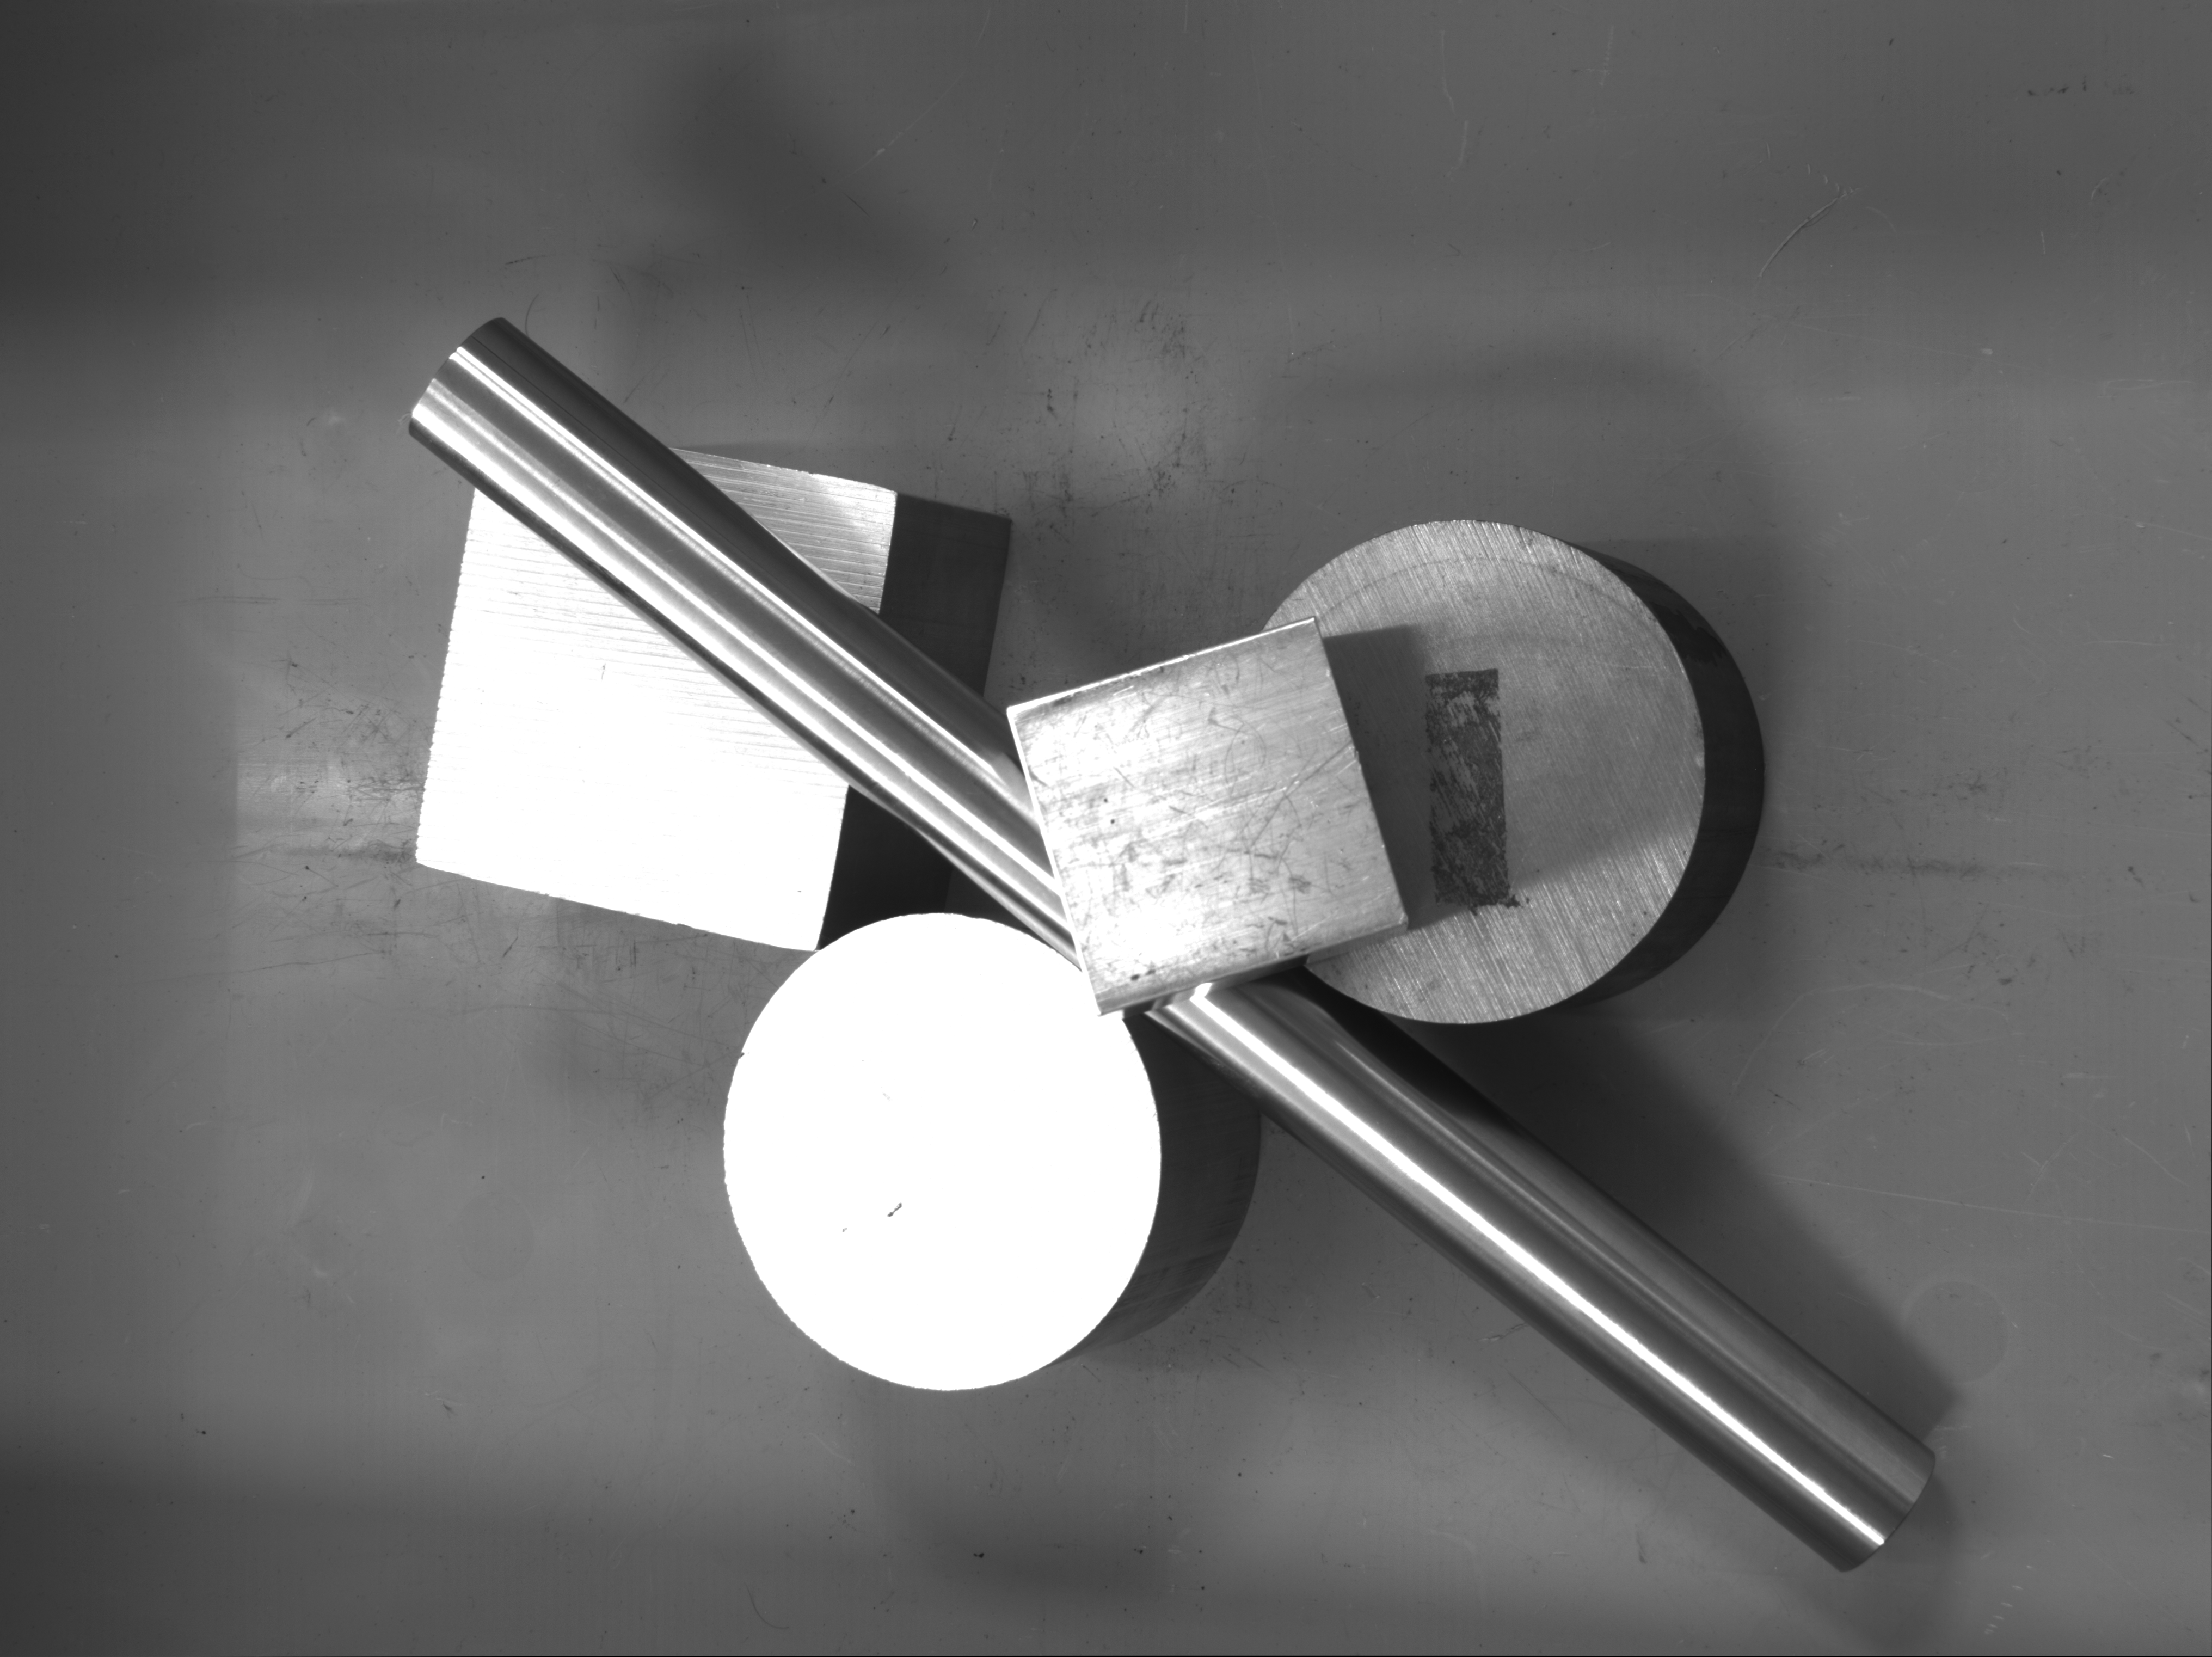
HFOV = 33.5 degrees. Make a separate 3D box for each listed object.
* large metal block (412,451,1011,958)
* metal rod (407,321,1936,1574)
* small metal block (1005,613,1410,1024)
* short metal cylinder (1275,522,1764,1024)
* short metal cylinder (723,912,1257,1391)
[{"bbox_3d":[-0.070,-0.025,0.656,0.080,0.050,0.080,12,94,20],"label":"large metal block"},{"bbox_3d":[0.010,0.019,0.604,0.300,0.025,0.025,38,103,2],"label":"metal rod"},{"bbox_3d":[0.016,-0.001,0.579,0.050,0.025,0.050,-17,84,1],"label":"small metal block"},{"bbox_3d":[0.065,-0.009,0.609,0.080,0.050,0.080,0,90,20],"label":"short metal cylinder"},{"bbox_3d":[-0.019,0.054,0.639,0.080,0.050,0.080,0,90,20],"label":"short metal cylinder"}]
